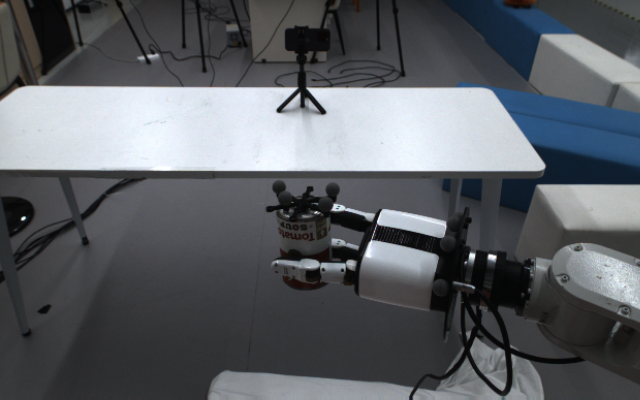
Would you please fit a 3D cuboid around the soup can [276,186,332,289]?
[{"bbox_3d":[-0.016,0.052,0.612,0.067,0.101,0.067,-3,27,2],"label":"soup can"}]
